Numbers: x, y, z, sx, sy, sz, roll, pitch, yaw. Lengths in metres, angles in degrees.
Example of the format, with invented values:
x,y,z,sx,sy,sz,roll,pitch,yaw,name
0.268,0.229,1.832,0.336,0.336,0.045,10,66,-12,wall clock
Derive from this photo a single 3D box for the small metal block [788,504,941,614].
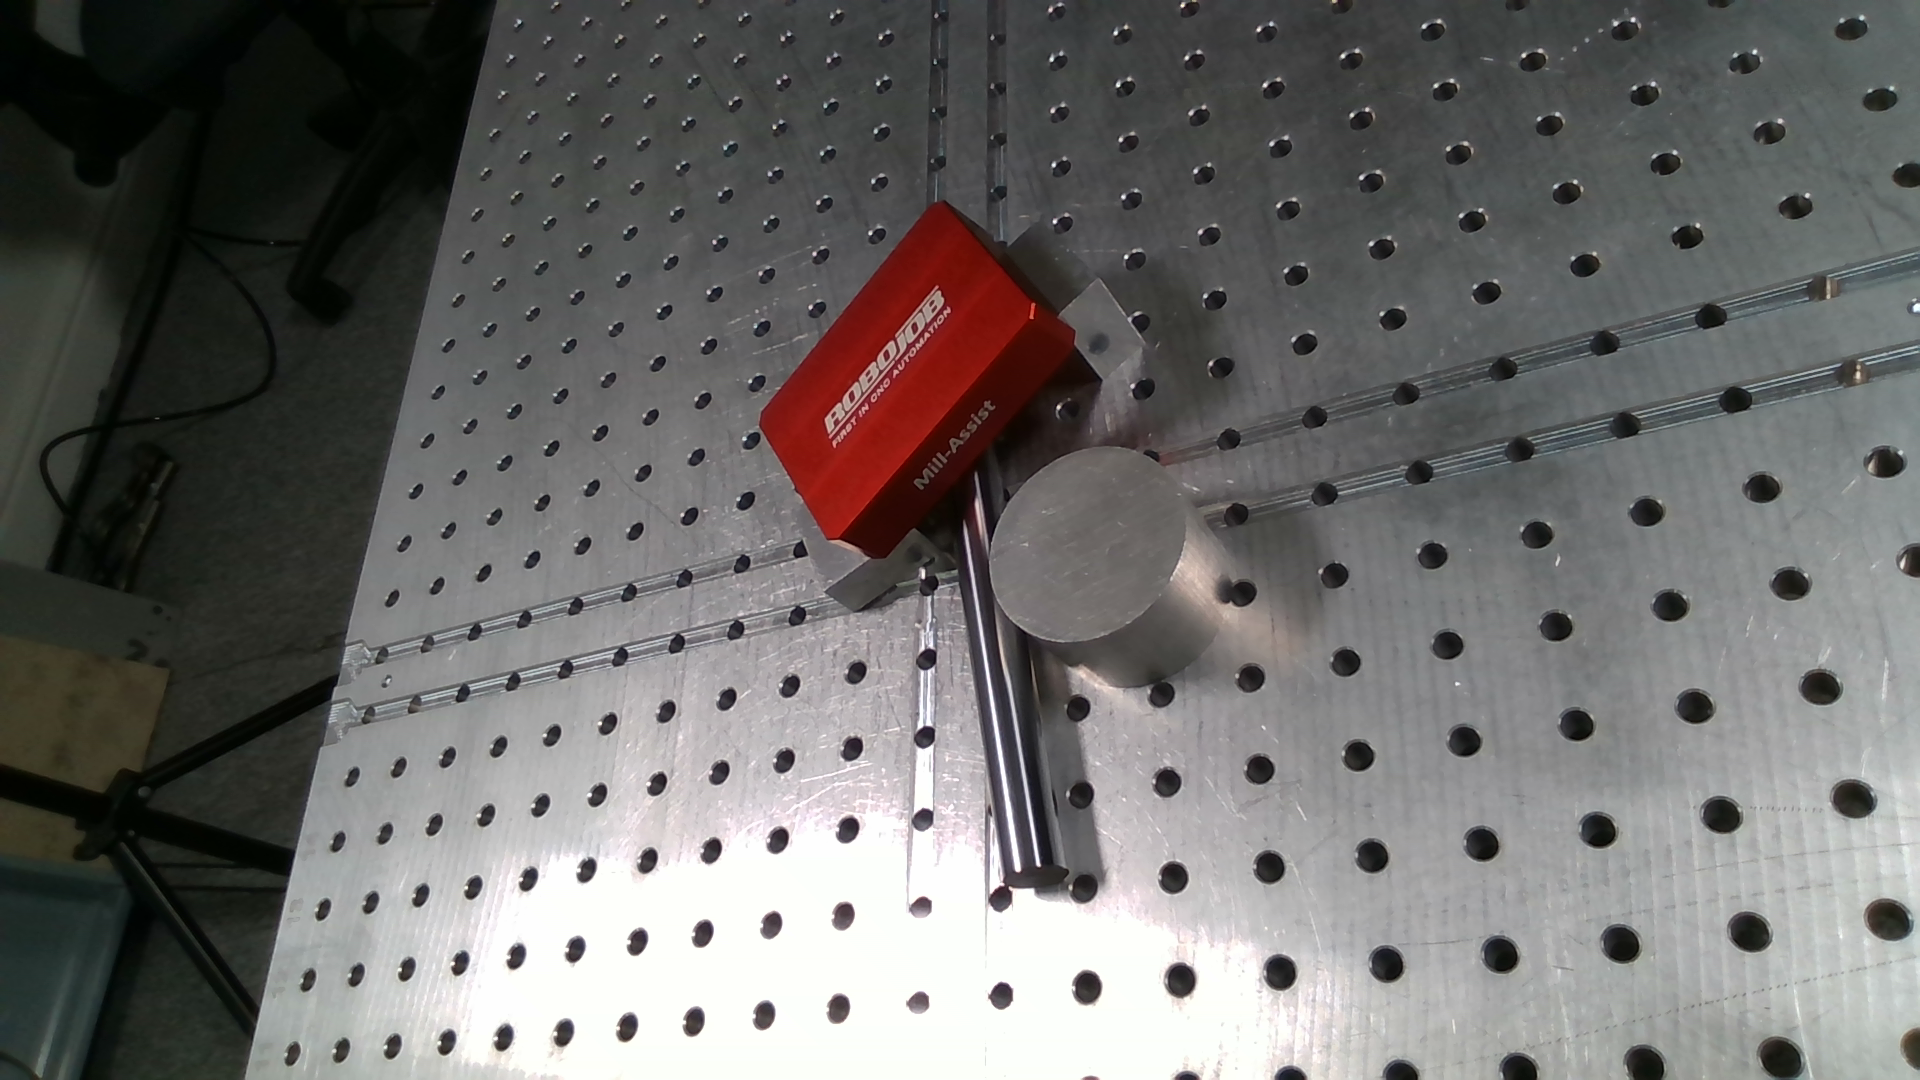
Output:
x,y,z,sx,sy,sz,roll,pitch,yaw,name
-0.043,-0.003,0.616,0.050,0.025,0.050,-35,52,11,small metal block

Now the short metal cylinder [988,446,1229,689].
x,y,z,sx,sy,sz,roll,pitch,yaw,name
0.058,0.011,0.530,0.080,0.050,0.080,-14,59,25,short metal cylinder

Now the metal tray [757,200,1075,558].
x,y,z,sx,sy,sz,roll,pitch,yaw,name
-0.022,-0.068,0.585,0.130,0.030,0.090,-48,49,16,metal tray

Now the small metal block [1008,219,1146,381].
x,y,z,sx,sy,sz,roll,pitch,yaw,name
0.048,-0.104,0.597,0.025,0.050,0.050,-41,51,6,small metal block

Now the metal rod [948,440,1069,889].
x,y,z,sx,sy,sz,roll,pitch,yaw,name
0.009,-0.002,0.584,0.025,0.025,0.299,-22,56,21,metal rod
